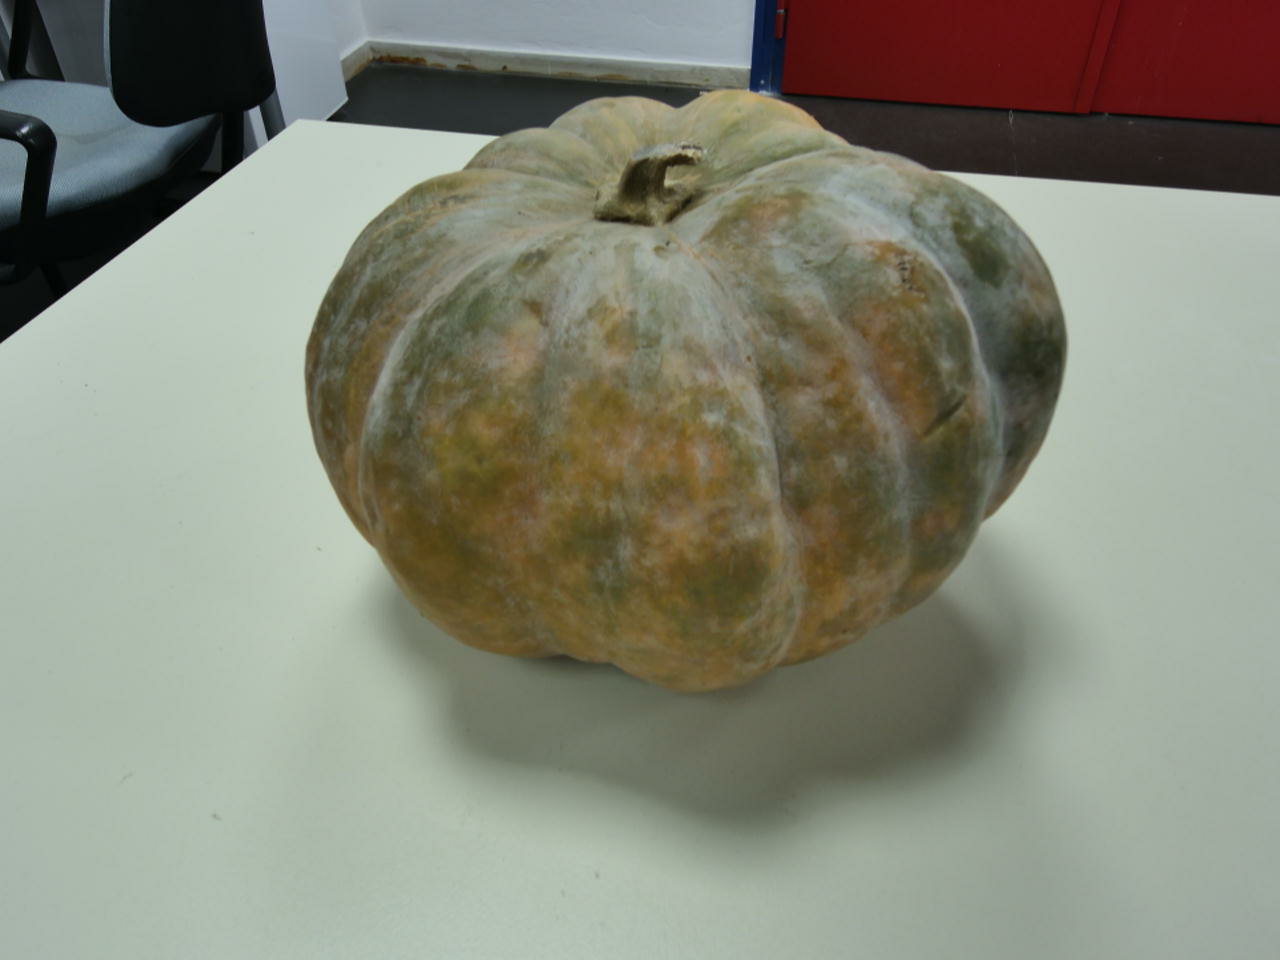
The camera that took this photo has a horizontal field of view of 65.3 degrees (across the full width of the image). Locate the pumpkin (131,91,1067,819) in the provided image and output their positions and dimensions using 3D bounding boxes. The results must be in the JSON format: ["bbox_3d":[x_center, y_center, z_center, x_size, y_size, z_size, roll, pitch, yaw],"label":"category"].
[{"bbox_3d":[0.007,-0.040,0.357,0.252,0.169,0.251,0,38,0],"label":"pumpkin"}]
